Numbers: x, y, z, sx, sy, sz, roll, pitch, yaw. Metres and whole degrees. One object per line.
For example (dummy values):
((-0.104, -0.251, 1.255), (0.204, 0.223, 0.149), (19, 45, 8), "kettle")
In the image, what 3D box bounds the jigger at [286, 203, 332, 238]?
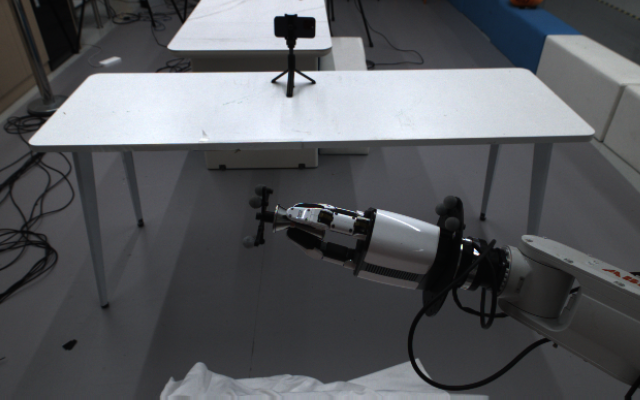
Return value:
((-0.019, 0.026, 0.642), (0.071, 0.043, 0.043), (8, 35, 1), "jigger")
